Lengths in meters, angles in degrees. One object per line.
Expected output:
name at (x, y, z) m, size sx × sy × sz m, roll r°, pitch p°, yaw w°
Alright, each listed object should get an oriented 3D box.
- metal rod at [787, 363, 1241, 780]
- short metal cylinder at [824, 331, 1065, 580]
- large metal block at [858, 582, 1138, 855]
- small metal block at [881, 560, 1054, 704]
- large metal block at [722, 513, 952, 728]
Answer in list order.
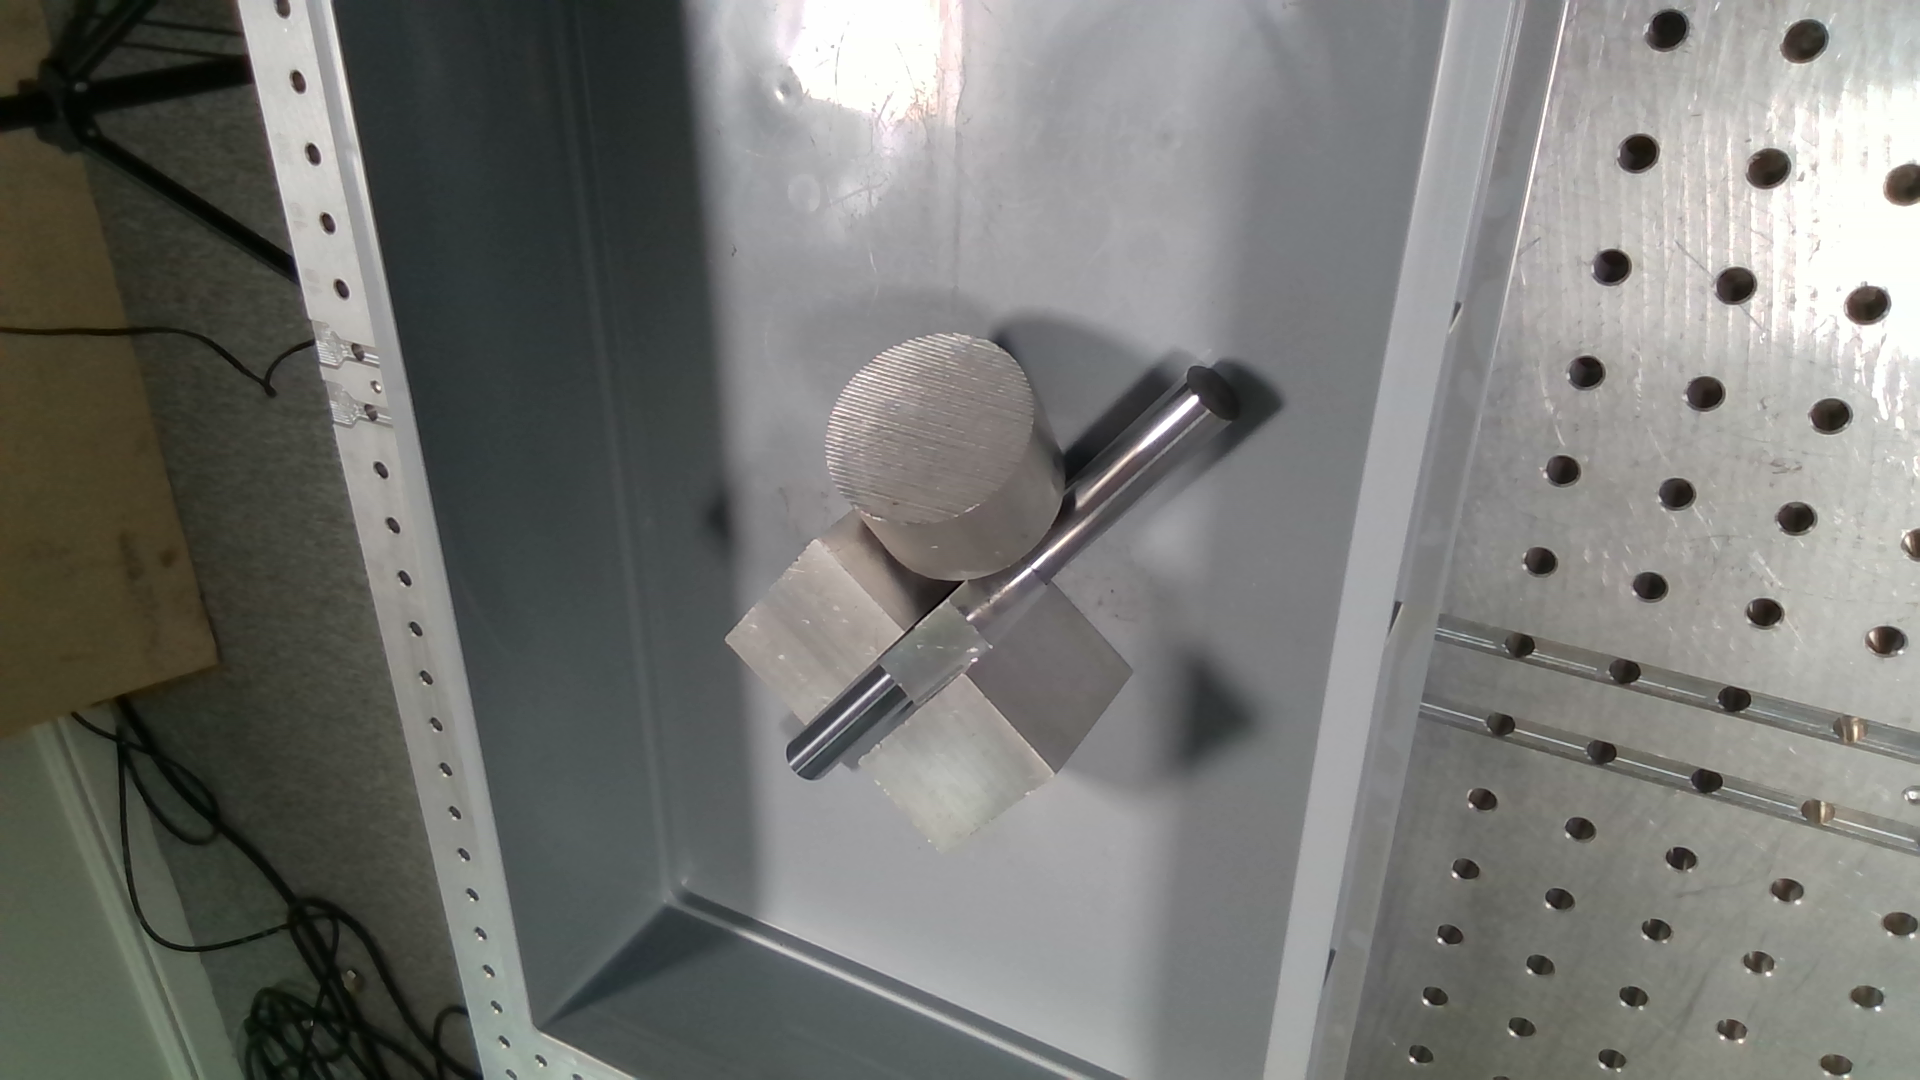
metal rod at (0.008, 0.027, 0.590) m, size 0.025 × 0.025 × 0.301 m, roll 47°, pitch 129°, yaw 1°
short metal cylinder at (-0.005, -0.031, 0.521) m, size 0.080 × 0.080 × 0.050 m, roll 15°, pitch 161°, yaw 24°
large metal block at (0.016, 0.074, 0.575) m, size 0.050 × 0.080 × 0.080 m, roll 48°, pitch 129°, yaw 1°
small metal block at (0.003, 0.032, 0.548) m, size 0.025 × 0.050 × 0.050 m, roll 48°, pitch 129°, yaw 0°
large metal block at (-0.041, 0.022, 0.581) m, size 0.050 × 0.080 × 0.080 m, roll 47°, pitch 129°, yaw 1°
